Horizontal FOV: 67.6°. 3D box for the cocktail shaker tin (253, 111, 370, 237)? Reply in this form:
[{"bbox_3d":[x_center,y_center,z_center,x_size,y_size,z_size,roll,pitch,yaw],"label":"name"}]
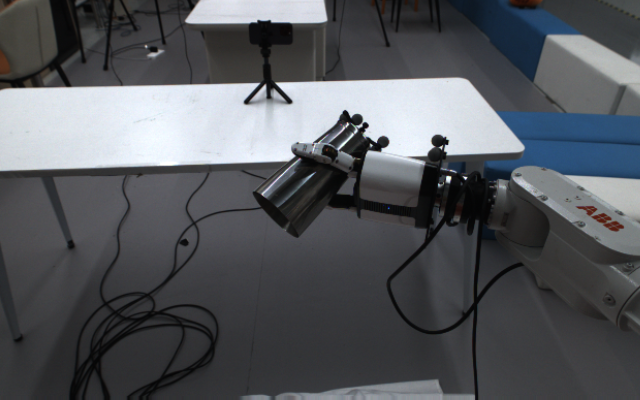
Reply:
[{"bbox_3d":[-0.006,-0.042,0.708,0.170,0.093,0.093,-43,50,-14],"label":"cocktail shaker tin"}]
